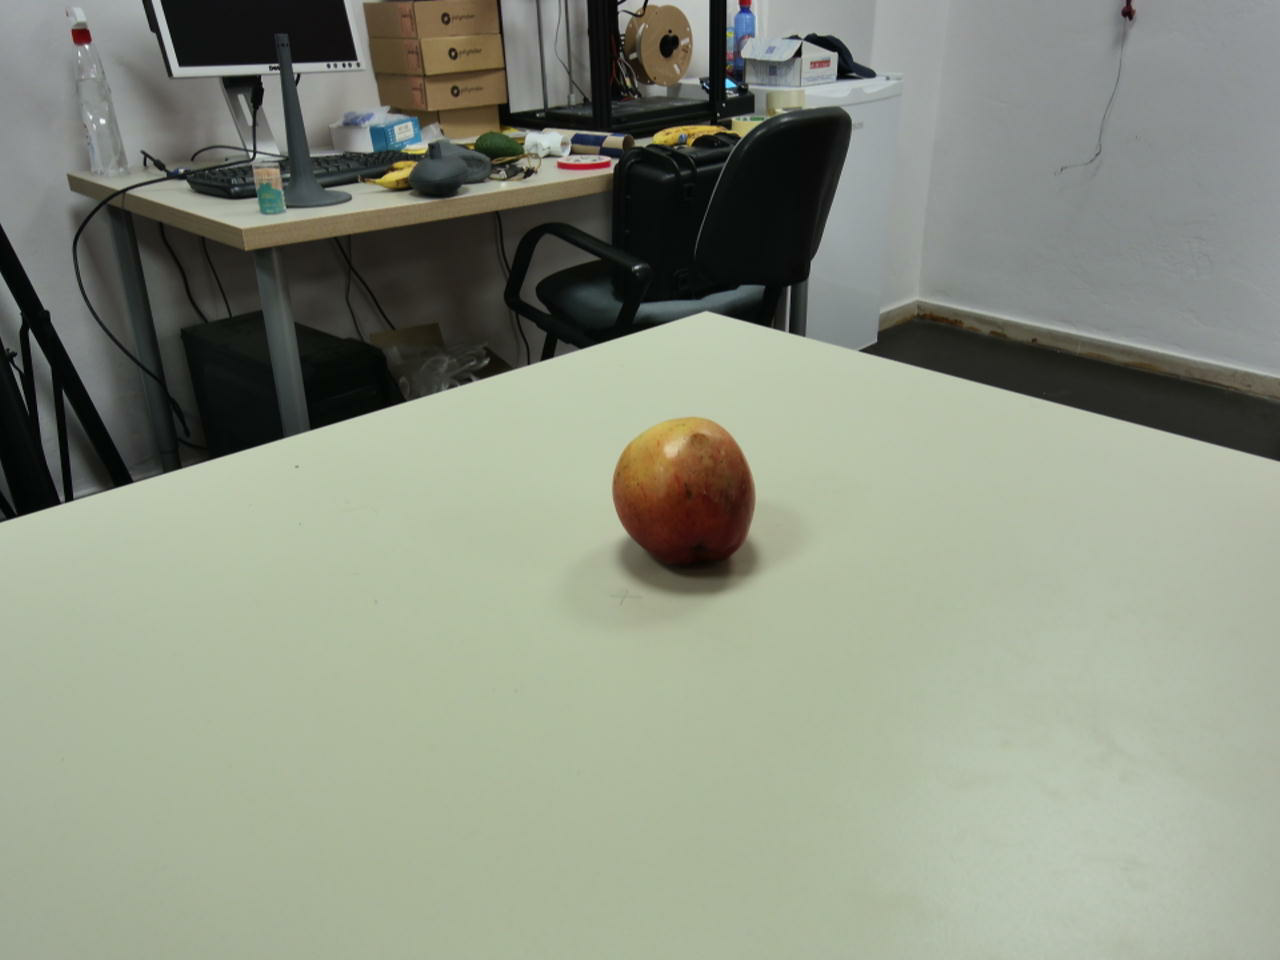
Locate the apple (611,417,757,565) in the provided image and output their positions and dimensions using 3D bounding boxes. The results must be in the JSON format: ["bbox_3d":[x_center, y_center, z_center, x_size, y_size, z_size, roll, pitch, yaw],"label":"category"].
[{"bbox_3d":[0.027,0.005,0.604,0.086,0.084,0.093,4,25,11],"label":"apple"}]
